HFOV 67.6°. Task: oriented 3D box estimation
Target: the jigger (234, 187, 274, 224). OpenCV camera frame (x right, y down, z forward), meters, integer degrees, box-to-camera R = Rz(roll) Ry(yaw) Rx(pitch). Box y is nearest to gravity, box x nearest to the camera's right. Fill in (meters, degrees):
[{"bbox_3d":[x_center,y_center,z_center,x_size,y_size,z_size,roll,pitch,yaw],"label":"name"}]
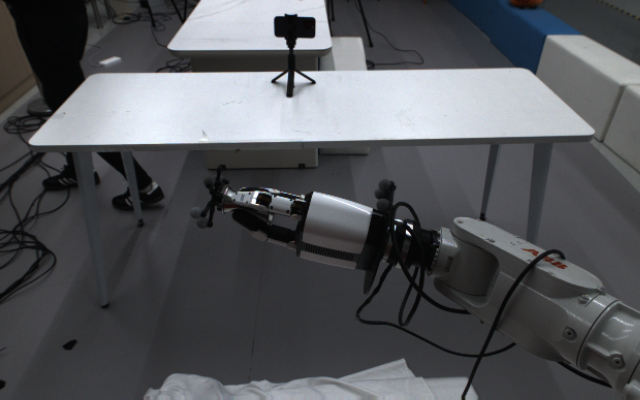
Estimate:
[{"bbox_3d":[-0.092,0.005,0.677,0.071,0.043,0.043,13,36,4],"label":"jigger"}]
